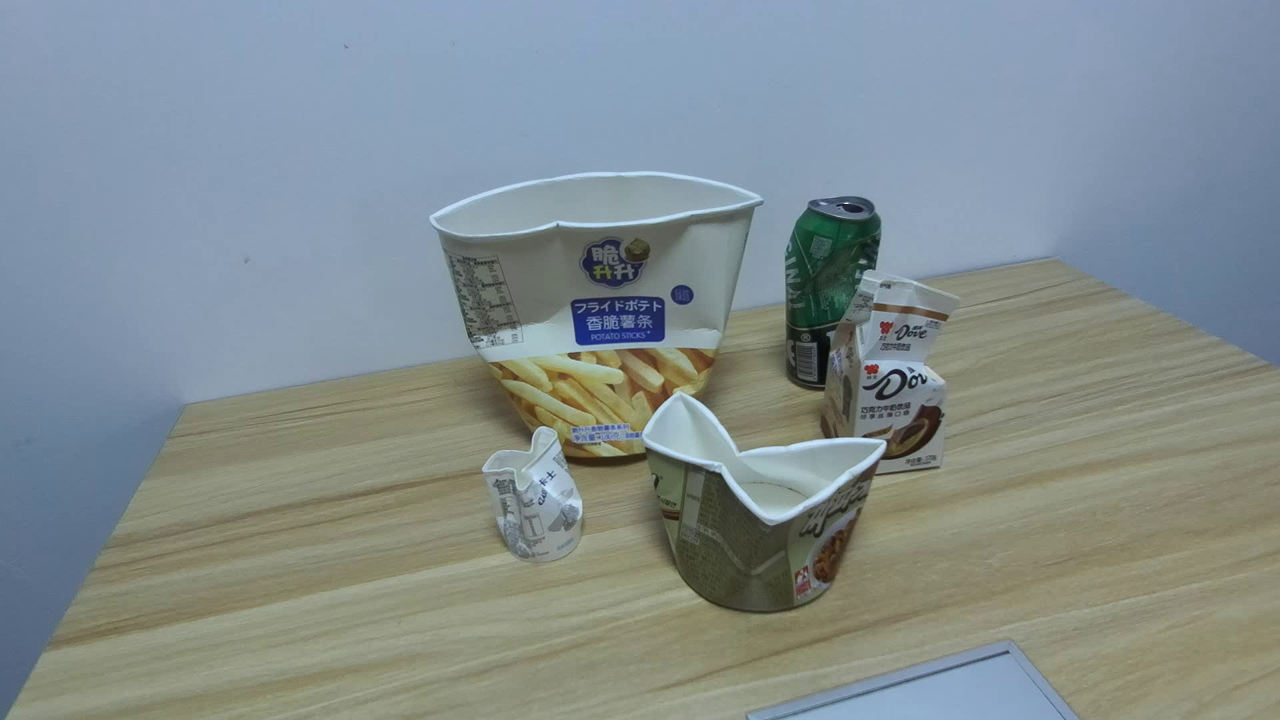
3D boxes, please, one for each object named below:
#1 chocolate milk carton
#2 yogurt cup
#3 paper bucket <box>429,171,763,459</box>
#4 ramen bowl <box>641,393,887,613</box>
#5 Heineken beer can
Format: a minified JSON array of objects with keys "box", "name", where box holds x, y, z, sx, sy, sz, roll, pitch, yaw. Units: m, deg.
[{"box":[0.184,0.003,0.520,0.076,0.156,0.073,-6,33,-5],"name":"chocolate milk carton"},{"box":[-0.071,0.093,0.483,0.055,0.072,0.055,22,41,40],"name":"yogurt cup"},{"box":[-0.026,-0.037,0.566,0.218,0.199,0.147,-21,35,-25],"name":"paper bucket"},{"box":[0.069,0.084,0.454,0.112,0.093,0.127,-29,40,-33],"name":"ramen bowl"},{"box":[0.163,-0.055,0.611,0.077,0.164,0.066,7,30,14],"name":"Heineken beer can"}]
